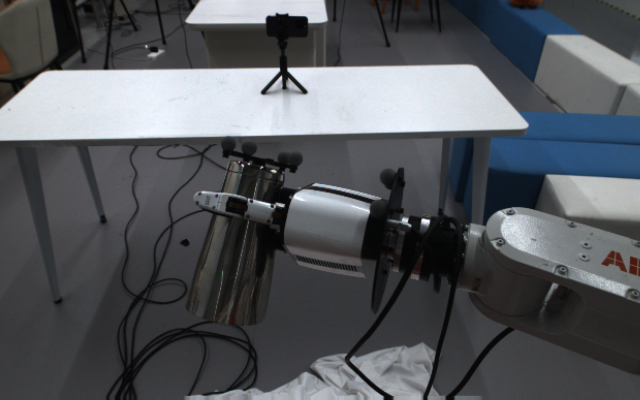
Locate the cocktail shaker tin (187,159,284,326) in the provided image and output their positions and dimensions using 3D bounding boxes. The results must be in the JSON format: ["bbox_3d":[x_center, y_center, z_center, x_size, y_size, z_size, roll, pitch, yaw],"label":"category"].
[{"bbox_3d":[-0.086,0.044,0.553,0.093,0.170,0.093,13,1,0],"label":"cocktail shaker tin"}]
